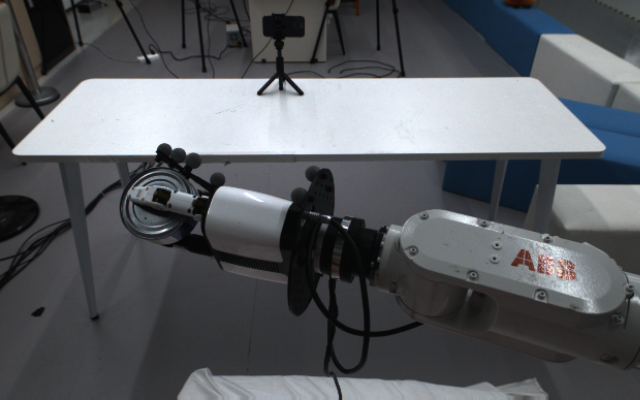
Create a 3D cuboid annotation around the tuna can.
[{"bbox_3d":[-0.180,0.012,0.553,0.085,0.034,0.085,-2,71,6],"label":"tuna can"}]
